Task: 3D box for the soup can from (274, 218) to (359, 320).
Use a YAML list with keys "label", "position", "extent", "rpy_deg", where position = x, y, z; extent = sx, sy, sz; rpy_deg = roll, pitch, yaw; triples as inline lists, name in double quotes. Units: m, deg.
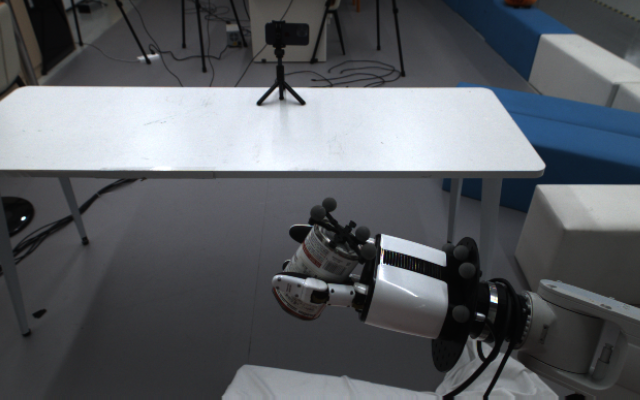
- label: "soup can"
  position: [-0.001, 0.082, 0.567]
  extent: [0.067, 0.101, 0.067]
  rpy_deg: [28, 22, -12]
